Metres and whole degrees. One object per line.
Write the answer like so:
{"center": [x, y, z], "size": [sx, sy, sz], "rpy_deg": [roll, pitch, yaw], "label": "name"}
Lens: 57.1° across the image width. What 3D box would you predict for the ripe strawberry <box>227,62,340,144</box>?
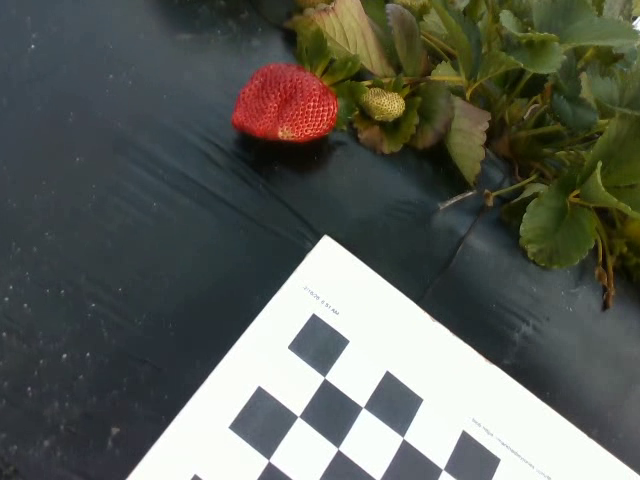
{"center": [-0.023, -0.083, 0.358], "size": [0.075, 0.067, 0.039], "rpy_deg": [-45, -10, -30], "label": "ripe strawberry"}
